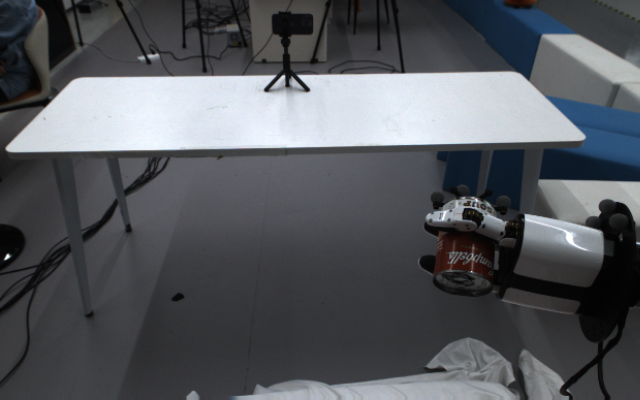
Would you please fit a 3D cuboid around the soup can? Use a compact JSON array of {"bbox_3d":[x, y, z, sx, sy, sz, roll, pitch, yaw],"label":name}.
[{"bbox_3d":[0.176,0.054,0.577,0.067,0.067,0.101,9,58,10],"label":"soup can"}]
